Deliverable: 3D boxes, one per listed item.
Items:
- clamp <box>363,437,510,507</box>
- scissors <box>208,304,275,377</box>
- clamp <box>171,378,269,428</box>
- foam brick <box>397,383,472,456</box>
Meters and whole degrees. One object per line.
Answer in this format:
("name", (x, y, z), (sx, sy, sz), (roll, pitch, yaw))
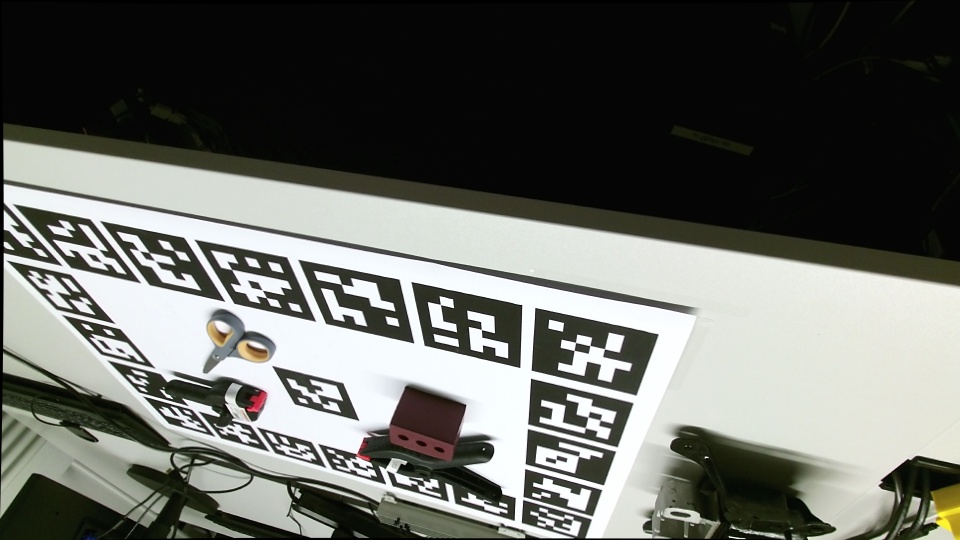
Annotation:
("clamp", (-0.063, 0.265, 0.731), (0.203, 0.036, 0.165), (7, 139, 16))
("scissors", (-0.322, 0.107, 0.685), (0.088, 0.016, 0.203), (42, 136, -11))
("clamp", (-0.377, 0.202, 0.799), (0.165, 0.036, 0.122), (-13, 120, 31))
("foam brick", (-0.054, 0.175, 0.627), (0.078, 0.051, 0.053), (12, 135, 4))
